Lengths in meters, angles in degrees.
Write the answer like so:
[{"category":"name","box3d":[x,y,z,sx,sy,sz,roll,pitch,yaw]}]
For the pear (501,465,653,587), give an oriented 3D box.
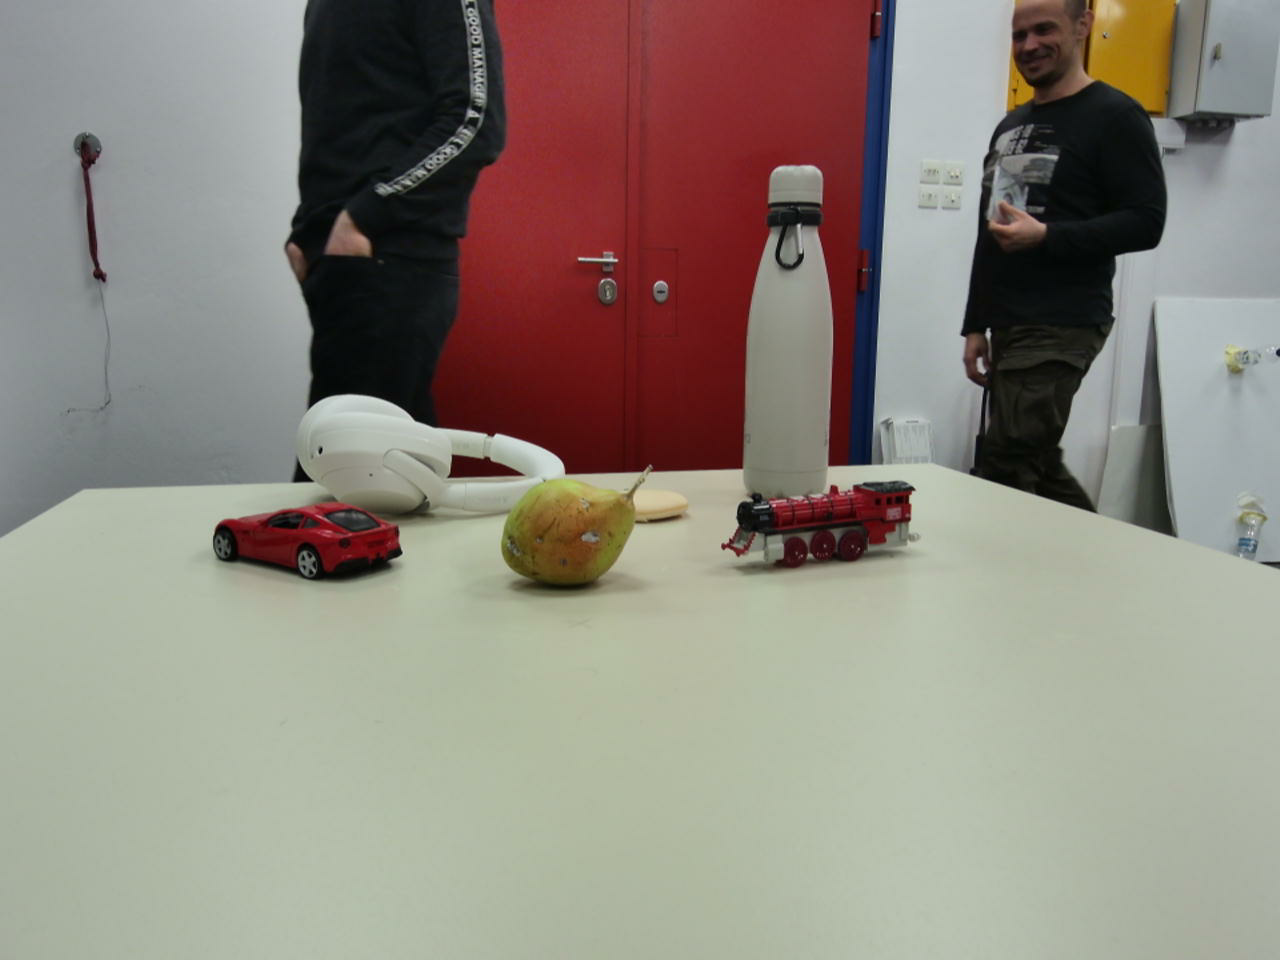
[{"category":"pear","box3d":[-0.040,0.027,0.581,0.070,0.069,0.068,6,10,38]}]
